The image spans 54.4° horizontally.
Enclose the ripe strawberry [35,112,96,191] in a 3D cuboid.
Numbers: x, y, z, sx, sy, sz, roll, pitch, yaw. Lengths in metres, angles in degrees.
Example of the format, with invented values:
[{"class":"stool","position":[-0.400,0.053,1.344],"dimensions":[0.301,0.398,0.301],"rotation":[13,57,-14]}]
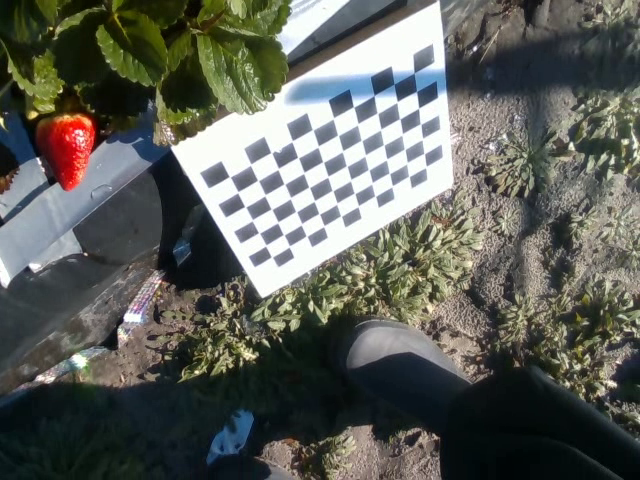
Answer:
[{"class":"ripe strawberry","position":[-0.218,-0.074,0.546],"dimensions":[0.061,0.065,0.057],"rotation":[-10,2,-33]}]
